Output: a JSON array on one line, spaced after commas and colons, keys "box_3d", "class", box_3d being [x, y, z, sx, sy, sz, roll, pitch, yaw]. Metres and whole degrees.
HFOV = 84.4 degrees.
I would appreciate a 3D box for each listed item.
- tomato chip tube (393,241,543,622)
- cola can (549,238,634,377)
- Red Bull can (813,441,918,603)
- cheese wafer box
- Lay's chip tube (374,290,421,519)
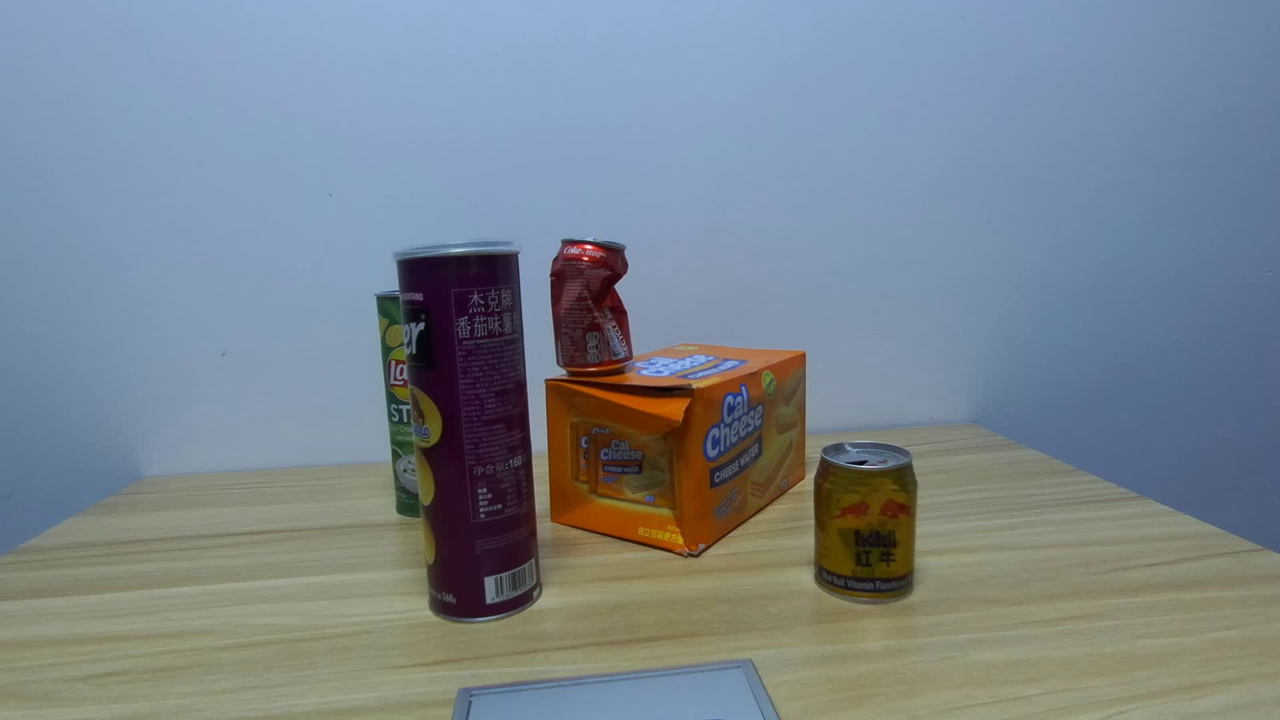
[{"box_3d": [-0.109, 0.047, 0.467, 0.078, 0.233, 0.078, -3, 9, 1], "class": "tomato chip tube"}, {"box_3d": [-0.040, -0.046, 0.594, 0.069, 0.112, 0.065, -8, 11, -32], "class": "cola can"}, {"box_3d": [0.150, 0.105, 0.473, 0.069, 0.092, 0.069, -2, 11, 1], "class": "Red Bull can"}, {"box_3d": [0.042, 0.063, 0.639, 0.149, 0.137, 0.228, 5, 12, 35], "class": "cheese wafer box"}, {"box_3d": [-0.189, 0.035, 0.633, 0.071, 0.202, 0.071, 0, 11, 0], "class": "Lay's chip tube"}]
